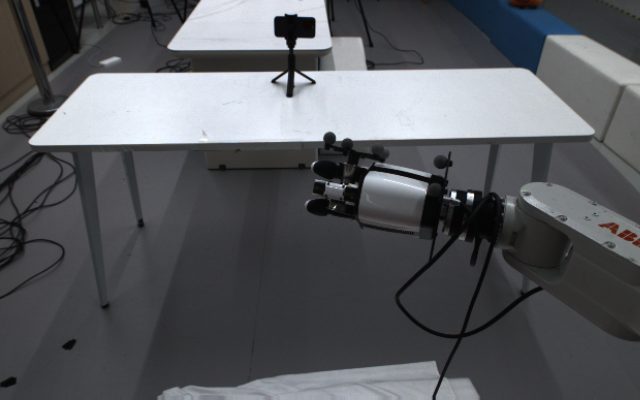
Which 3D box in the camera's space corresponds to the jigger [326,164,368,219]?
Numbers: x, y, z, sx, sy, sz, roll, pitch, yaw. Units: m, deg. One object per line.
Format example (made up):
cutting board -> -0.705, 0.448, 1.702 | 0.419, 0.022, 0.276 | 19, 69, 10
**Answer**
jigger -> 0.040, -0.016, 0.681 | 0.043, 0.071, 0.043 | 14, 1, 0
